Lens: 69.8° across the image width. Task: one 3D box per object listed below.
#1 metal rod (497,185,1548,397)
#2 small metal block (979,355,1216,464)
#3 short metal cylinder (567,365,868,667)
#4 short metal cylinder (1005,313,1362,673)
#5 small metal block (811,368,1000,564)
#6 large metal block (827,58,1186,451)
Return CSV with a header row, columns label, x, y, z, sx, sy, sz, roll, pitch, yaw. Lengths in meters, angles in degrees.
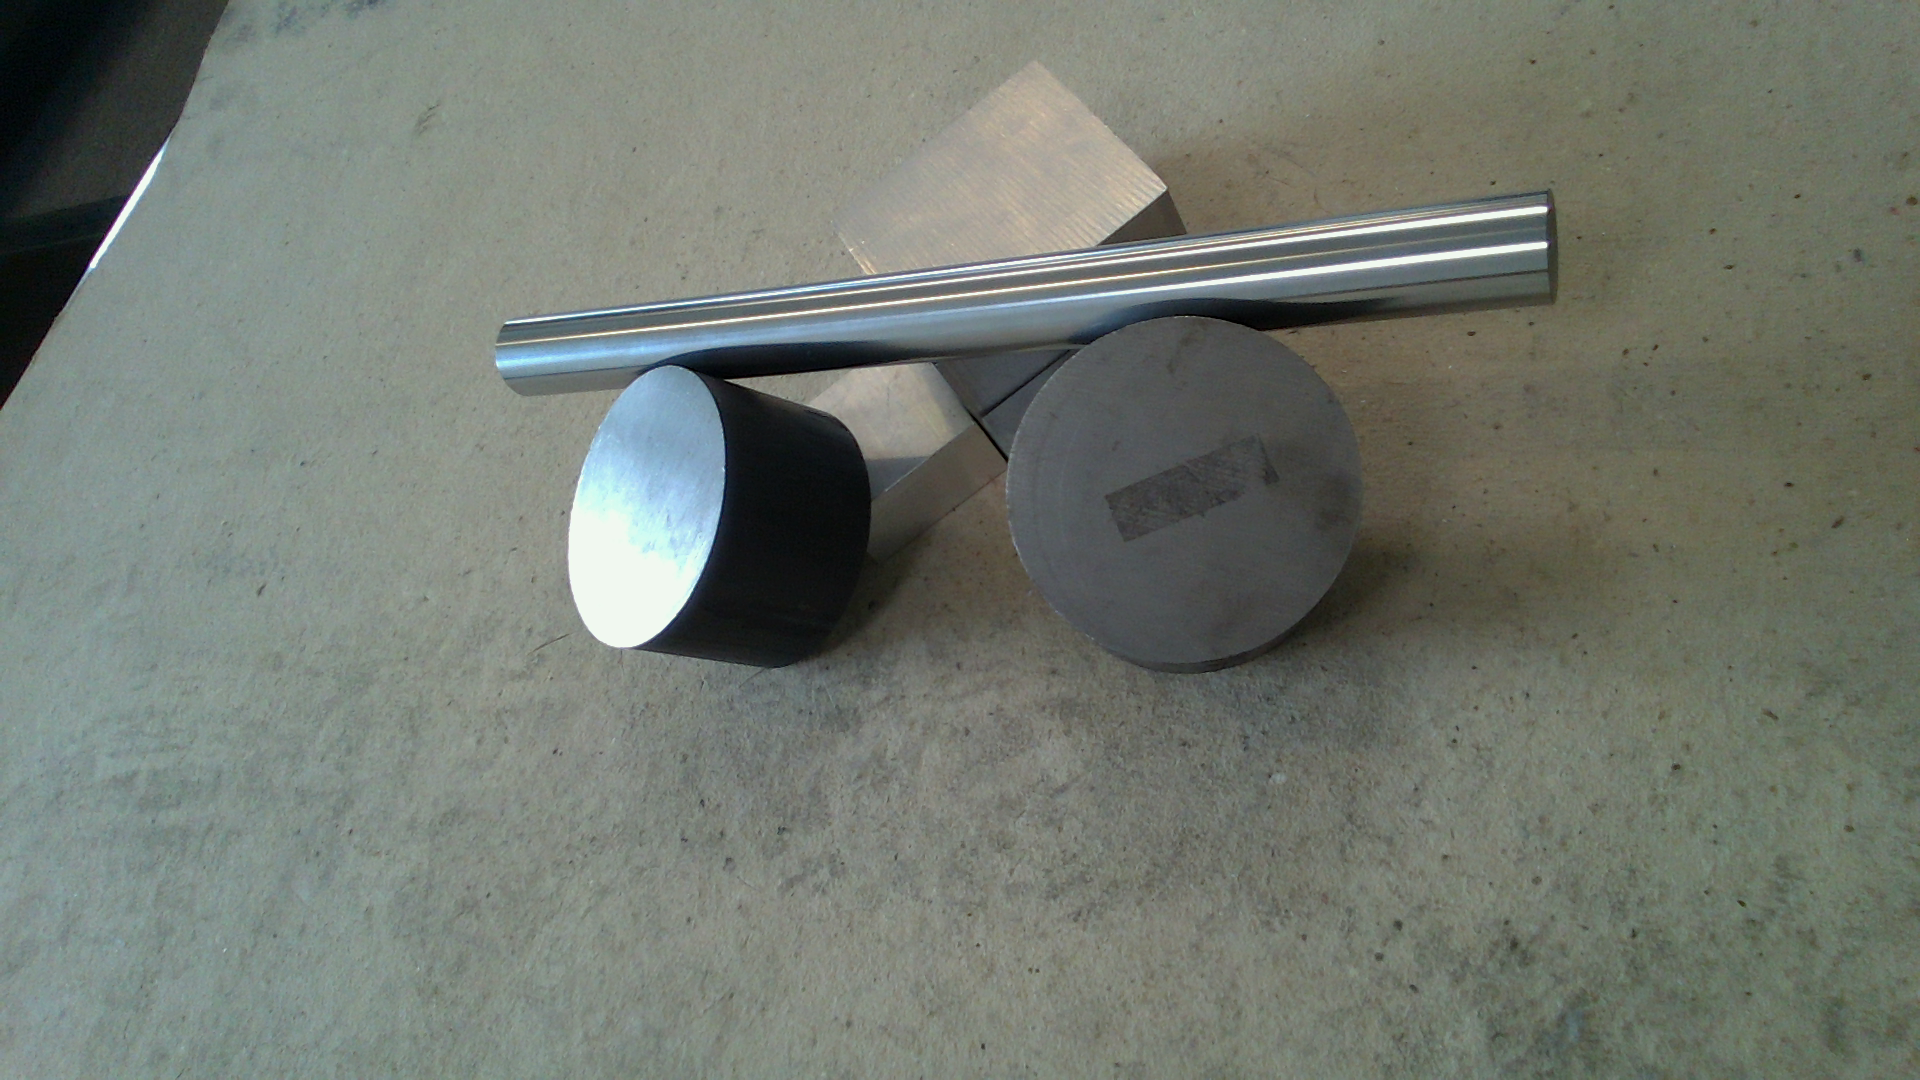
label,x,y,z,sx,sy,sz,roll,pitch,yaw
metal rod,-0.005,-0.061,0.367,0.299,0.025,0.025,-1,61,28
small metal block,0.042,-0.028,0.389,0.050,0.025,0.050,-37,51,3
short metal cylinder,-0.072,-0.005,0.401,0.080,0.050,0.080,-15,69,44
short metal cylinder,0.054,-0.009,0.336,0.080,0.050,0.080,-2,80,10
small metal block,-0.021,-0.030,0.424,0.050,0.025,0.050,-37,51,3
large metal block,0.018,-0.086,0.419,0.080,0.050,0.080,-36,51,4
